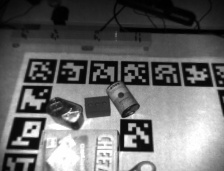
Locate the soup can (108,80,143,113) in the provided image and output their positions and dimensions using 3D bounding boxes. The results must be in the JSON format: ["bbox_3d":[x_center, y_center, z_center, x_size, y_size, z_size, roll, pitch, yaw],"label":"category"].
[{"bbox_3d":[0.043,0.029,0.708,0.068,0.068,0.101,-34,63,-15],"label":"soup can"}]

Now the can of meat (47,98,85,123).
[{"bbox_3d":[-0.136,0.073,0.665,0.101,0.084,0.058,13,65,6],"label":"can of meat"}]

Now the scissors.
[{"bbox_3d":[0.029,0.242,0.611,0.203,0.016,0.087,-4,65,-2],"label":"scissors"}]

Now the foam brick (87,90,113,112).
[{"bbox_3d":[-0.039,0.053,0.696,0.078,0.051,0.052,-9,65,-4],"label":"foam brick"}]

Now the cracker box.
[{"bbox_3d":[-0.087,0.196,0.598,0.213,0.072,0.163,-5,63,1],"label":"cracker box"}]
